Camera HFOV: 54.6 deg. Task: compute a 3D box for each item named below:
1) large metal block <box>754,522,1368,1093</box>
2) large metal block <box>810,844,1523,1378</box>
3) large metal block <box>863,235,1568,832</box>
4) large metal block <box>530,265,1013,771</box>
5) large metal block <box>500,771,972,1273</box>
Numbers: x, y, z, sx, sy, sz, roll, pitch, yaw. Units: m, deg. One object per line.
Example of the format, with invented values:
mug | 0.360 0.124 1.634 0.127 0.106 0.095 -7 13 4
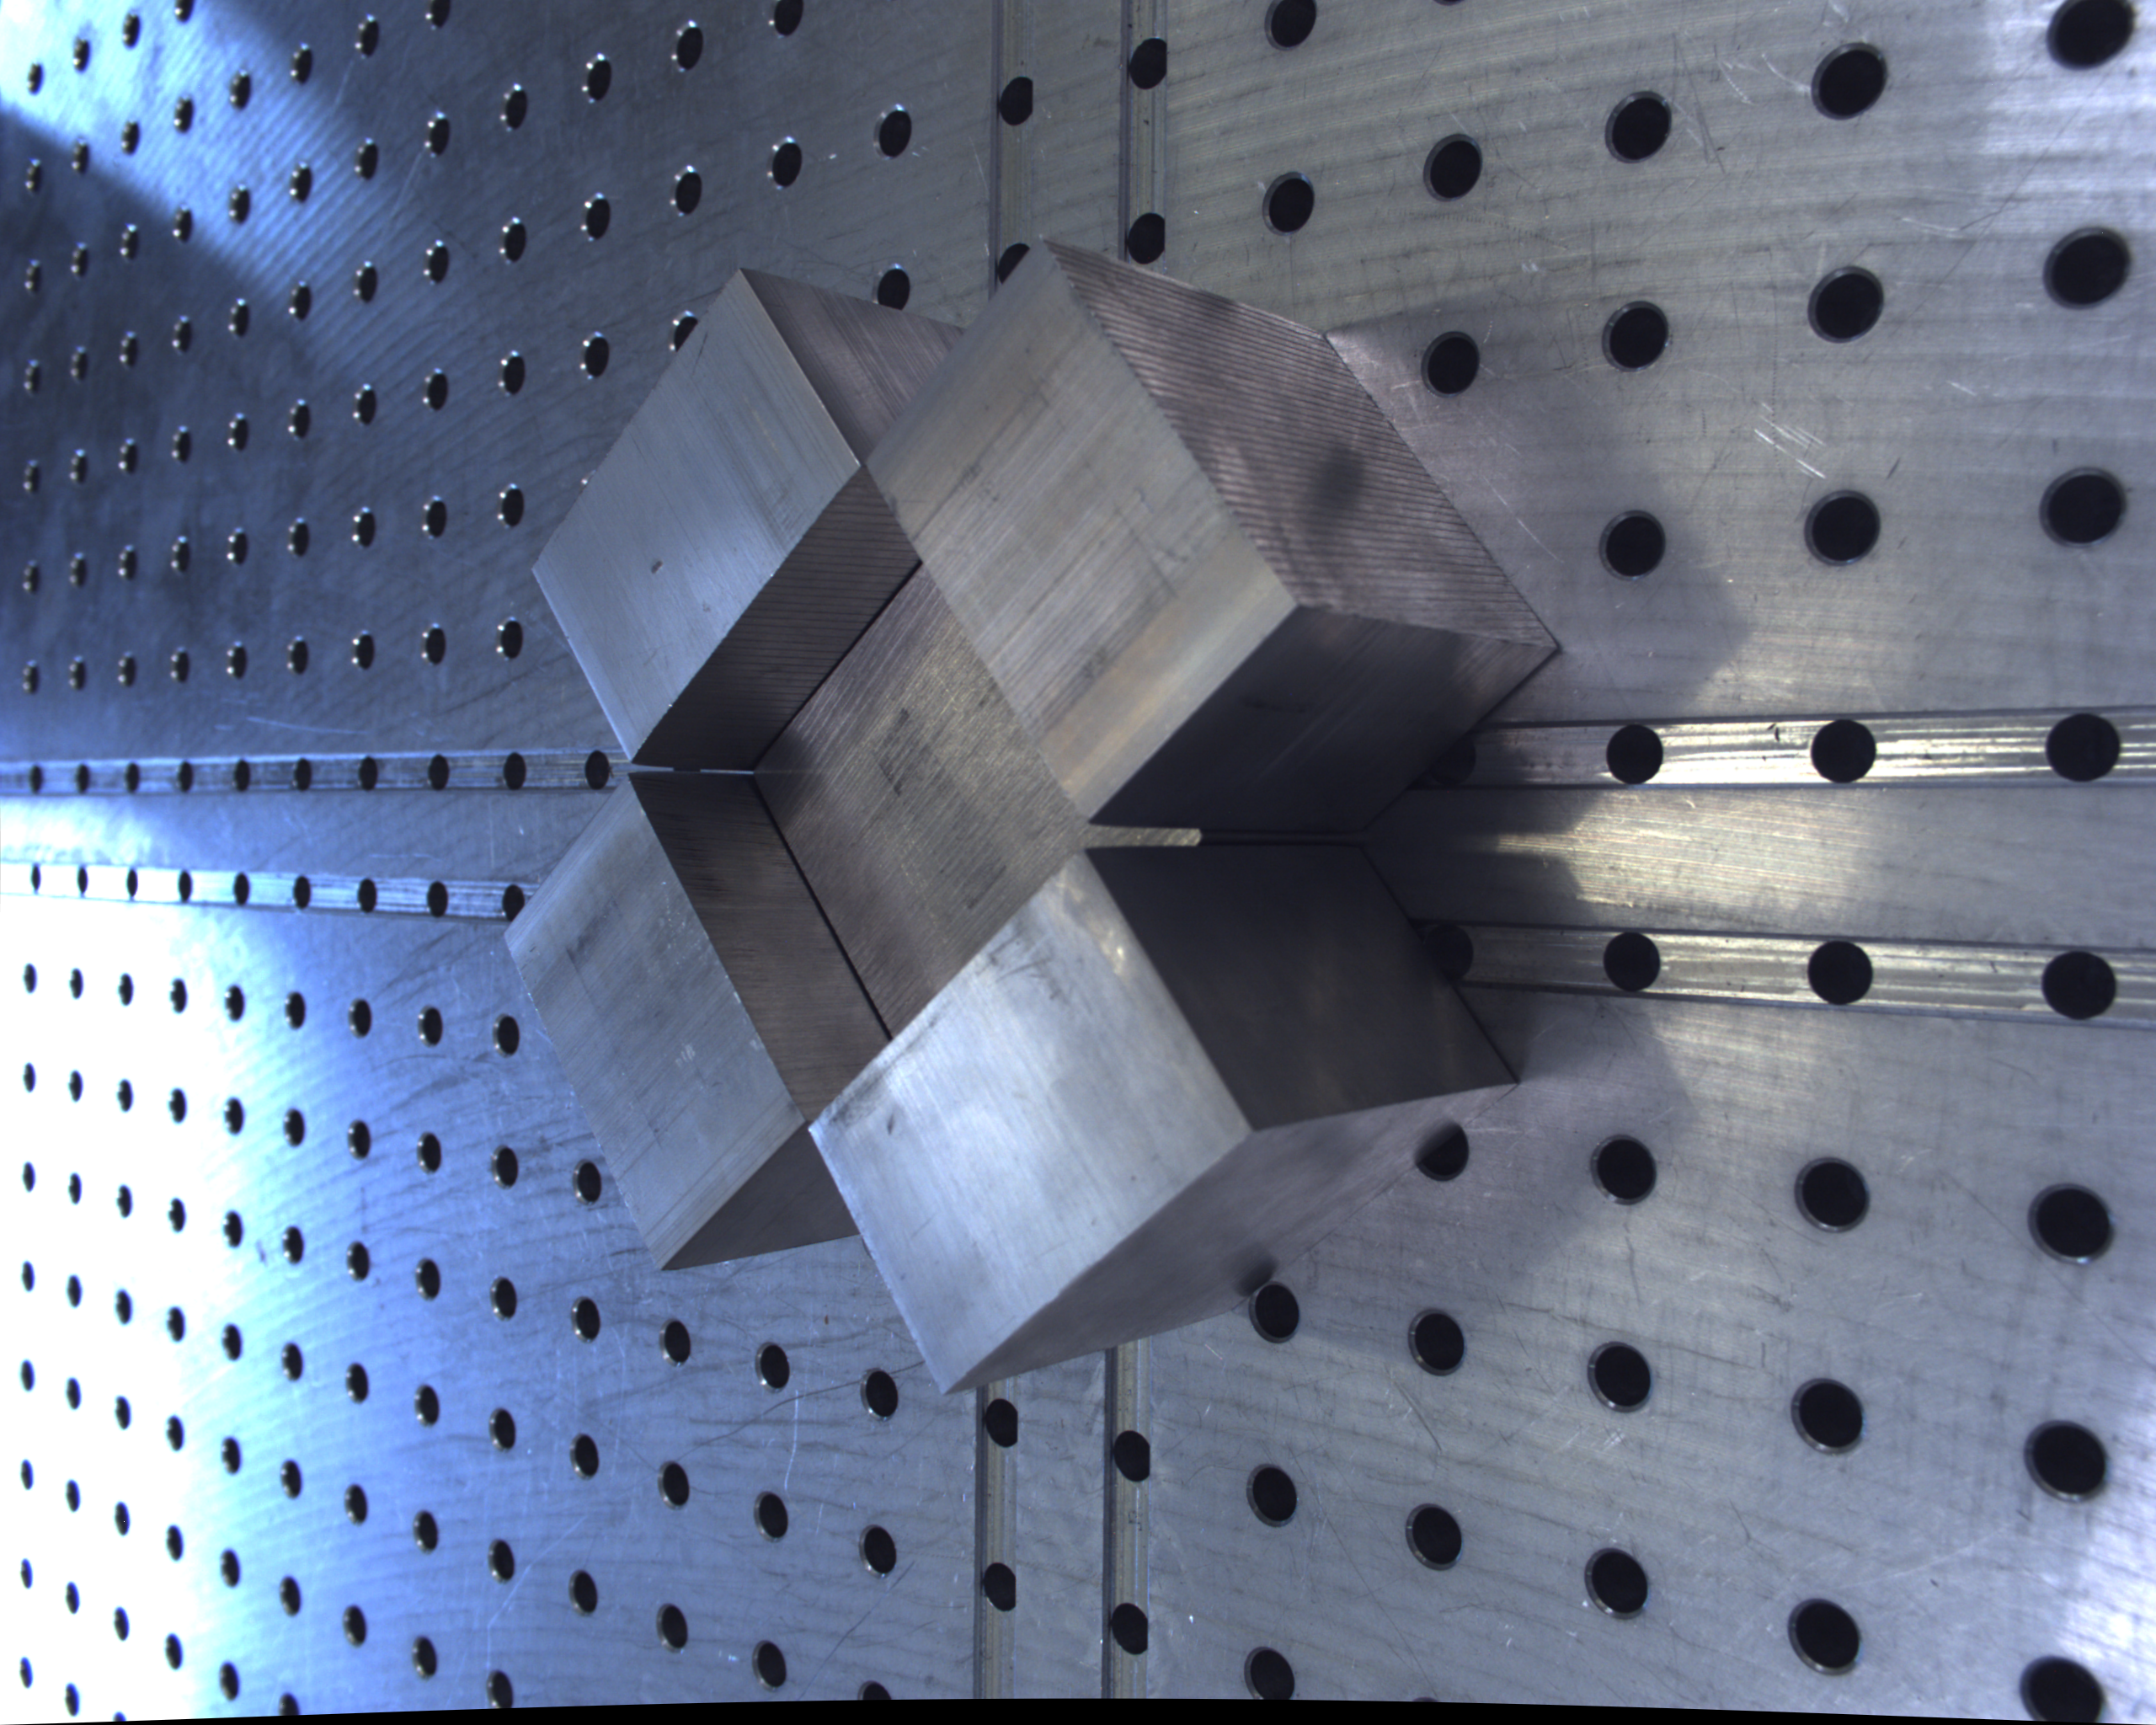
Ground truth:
large metal block | -0.006 -0.011 0.398 0.080 0.050 0.080 -47 61 32
large metal block | 0.016 0.041 0.363 0.080 0.081 0.050 -45 63 31
large metal block | 0.024 -0.052 0.355 0.050 0.081 0.080 -46 63 30
large metal block | -0.046 -0.063 0.413 0.080 0.081 0.050 -46 63 30
large metal block | -0.056 0.029 0.420 0.050 0.081 0.080 -46 63 30
